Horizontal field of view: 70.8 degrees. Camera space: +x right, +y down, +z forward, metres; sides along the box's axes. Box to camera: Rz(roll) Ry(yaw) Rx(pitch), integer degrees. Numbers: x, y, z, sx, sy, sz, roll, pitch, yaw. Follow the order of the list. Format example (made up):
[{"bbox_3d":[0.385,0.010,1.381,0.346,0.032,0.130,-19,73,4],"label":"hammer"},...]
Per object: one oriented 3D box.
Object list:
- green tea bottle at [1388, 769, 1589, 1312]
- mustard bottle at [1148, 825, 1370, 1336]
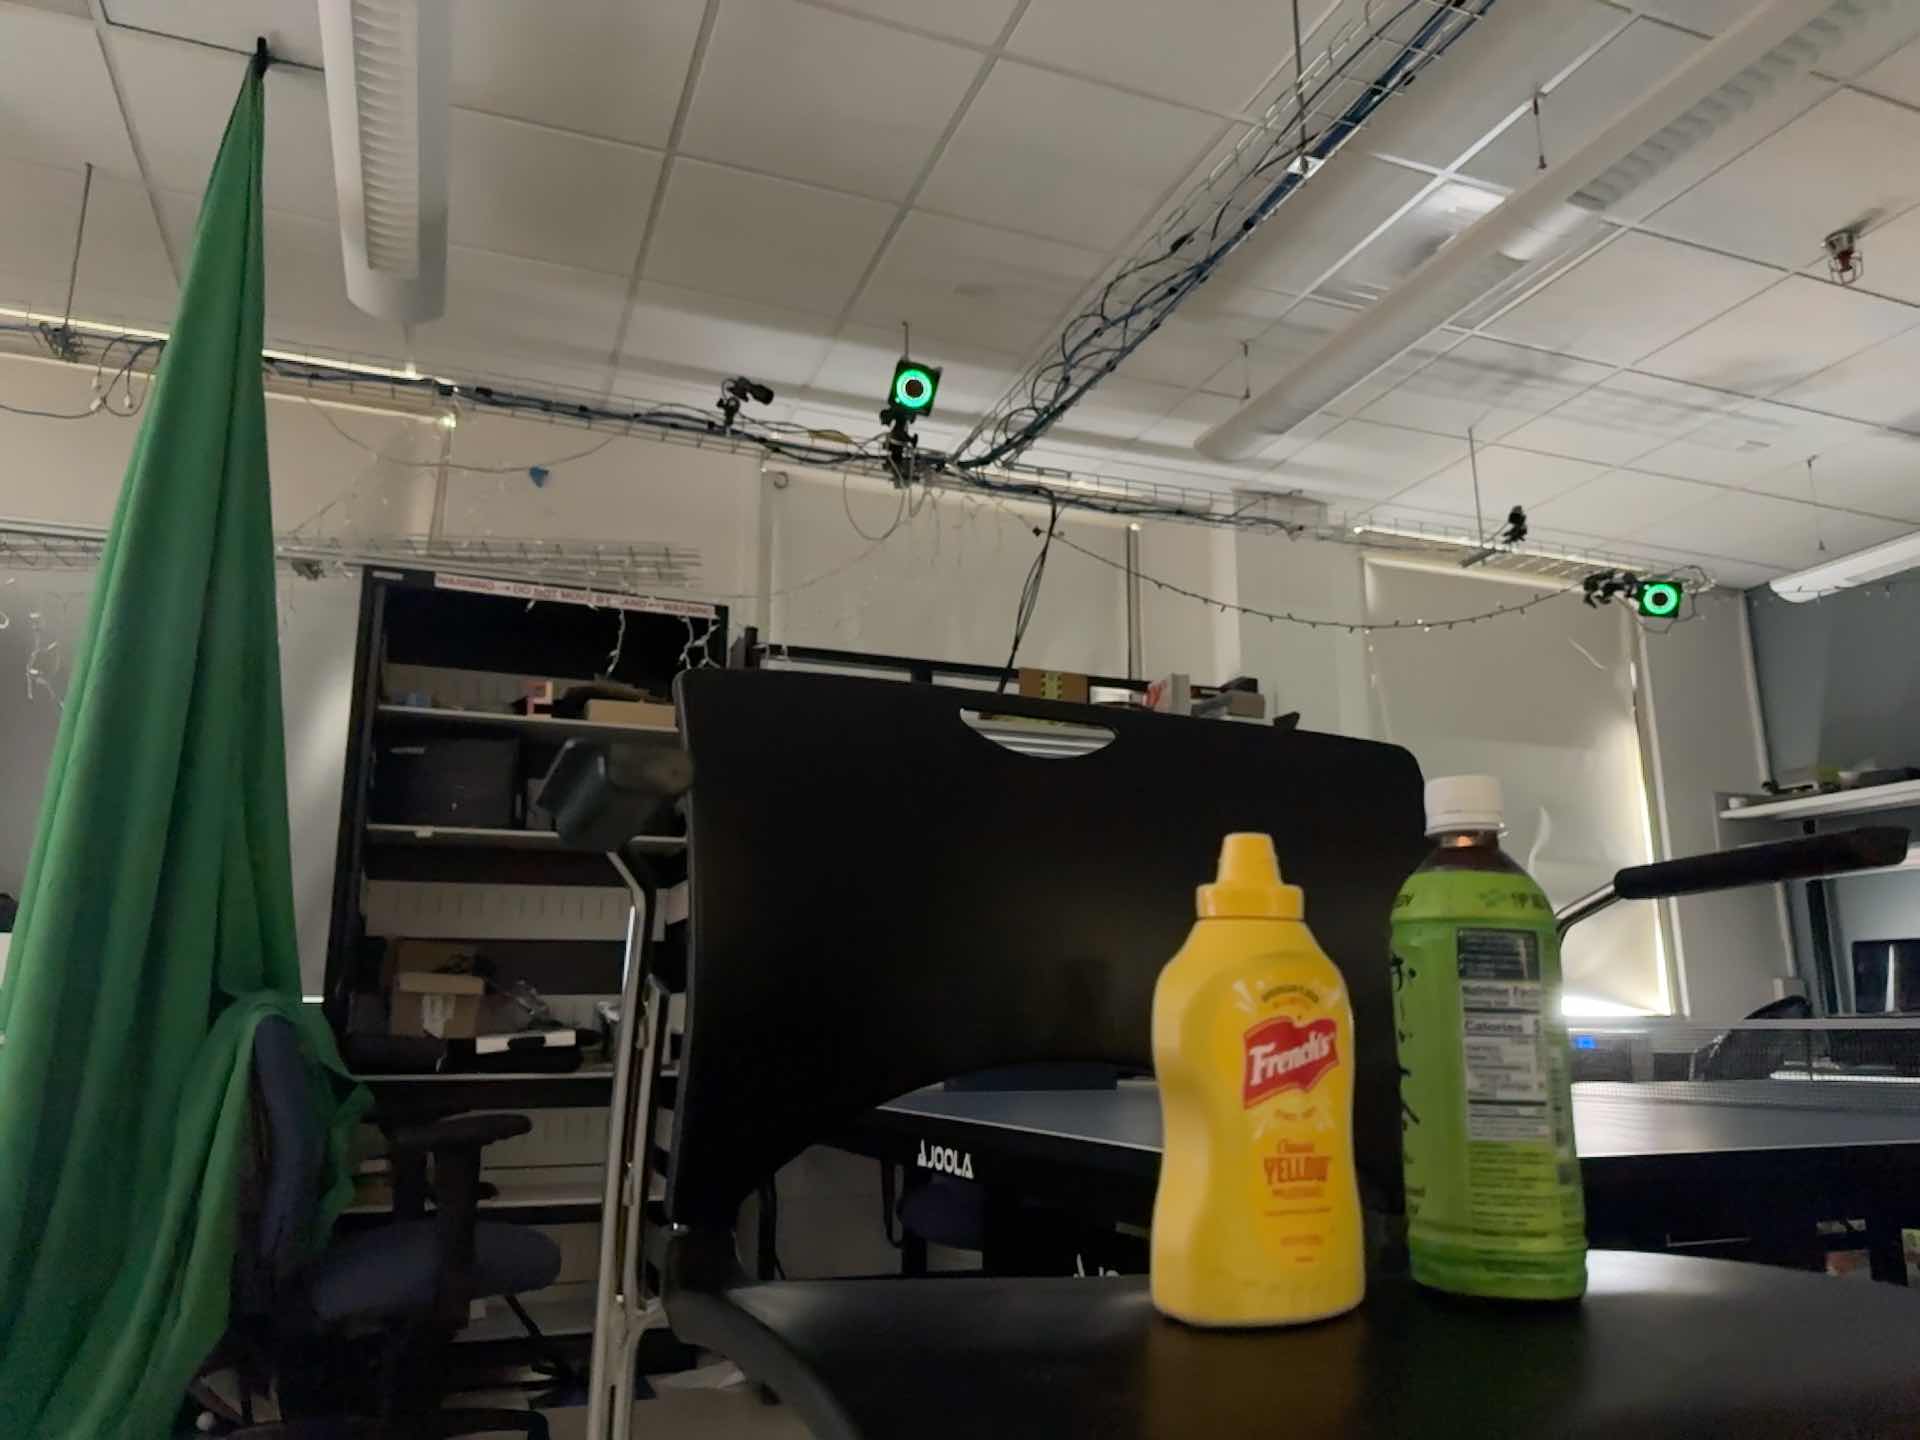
[{"bbox_3d":[0.216,0.126,0.559,0.073,0.212,0.073,2,-10,0],"label":"green tea bottle"},{"bbox_3d":[0.113,0.133,0.521,0.092,0.184,0.054,5,-11,-25],"label":"mustard bottle"}]
